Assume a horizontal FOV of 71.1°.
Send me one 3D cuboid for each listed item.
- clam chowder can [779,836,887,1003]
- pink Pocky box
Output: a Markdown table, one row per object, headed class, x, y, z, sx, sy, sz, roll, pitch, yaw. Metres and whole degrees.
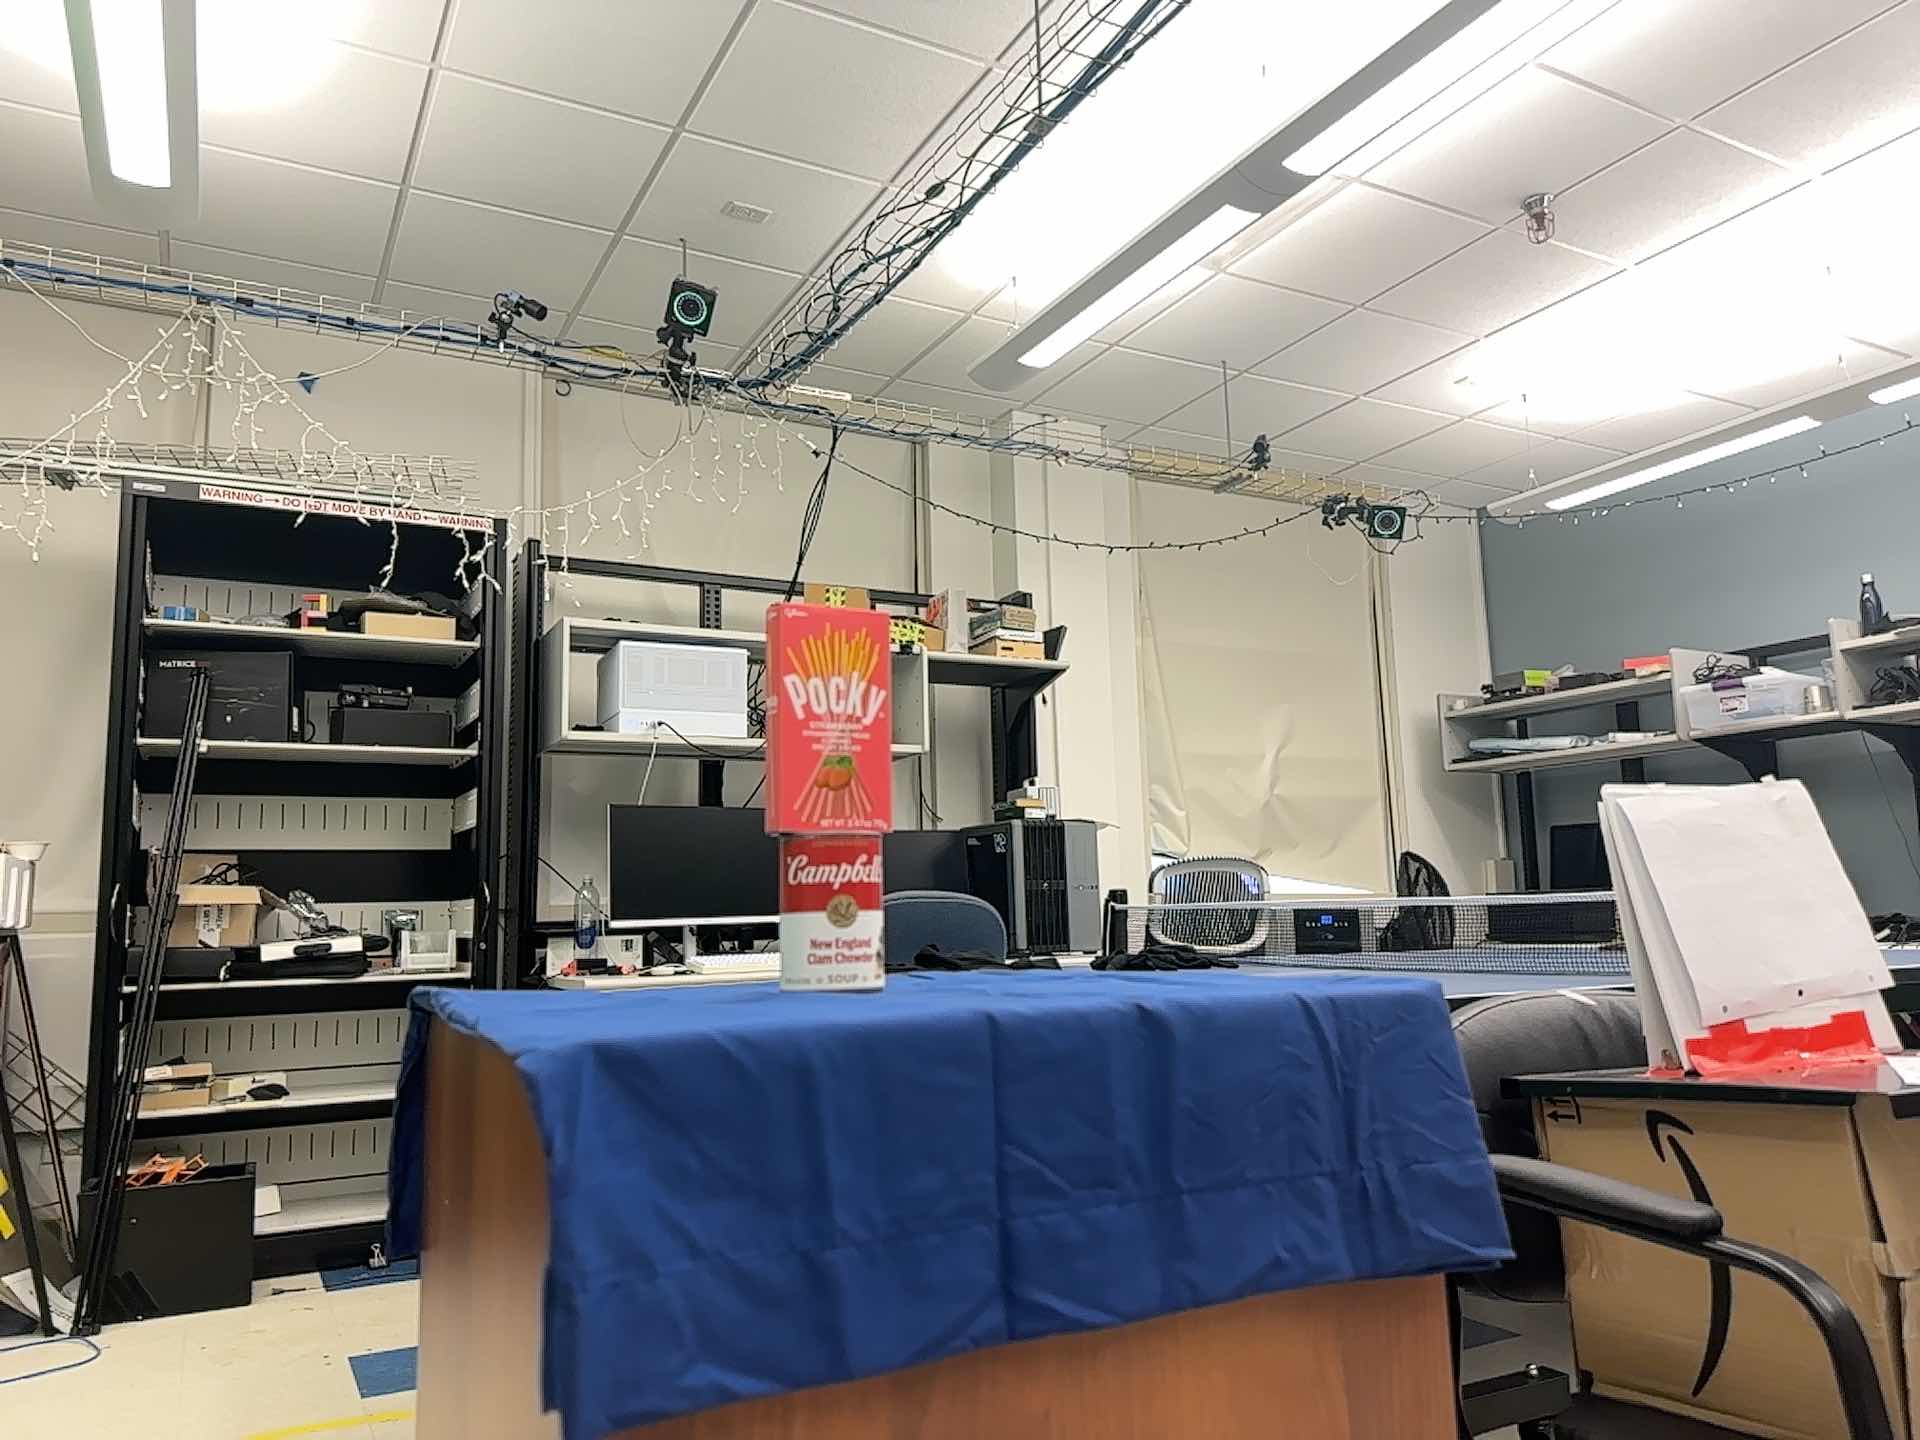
| class | x | y | z | sx | sy | sz | roll | pitch | yaw |
| --- | --- | --- | --- | --- | --- | --- | --- | --- | --- |
| clam chowder can | -0.082 | 0.128 | 0.867 | 0.068 | 0.102 | 0.068 | -2 | -8 | 0 |
| pink Pocky box | -0.087 | 0.001 | 0.881 | 0.084 | 0.155 | 0.029 | 1 | -8 | -23 |
